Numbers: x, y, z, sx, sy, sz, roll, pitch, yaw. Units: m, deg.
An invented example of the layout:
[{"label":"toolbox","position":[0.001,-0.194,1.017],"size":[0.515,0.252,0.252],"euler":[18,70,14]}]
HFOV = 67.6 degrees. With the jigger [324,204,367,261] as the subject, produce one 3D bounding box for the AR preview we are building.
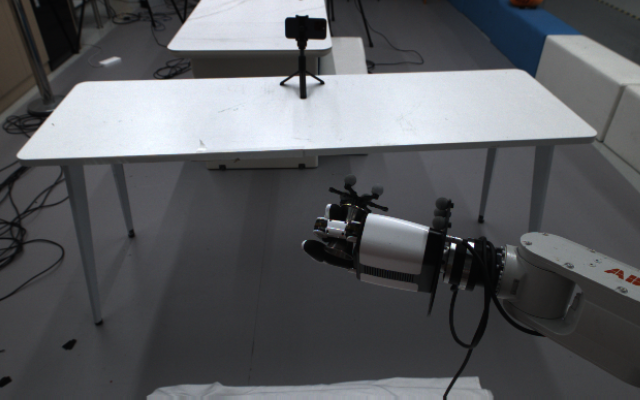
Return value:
[{"label":"jigger","position":[0.037,0.041,0.675],"size":[0.043,0.043,0.071],"euler":[16,70,19]}]
